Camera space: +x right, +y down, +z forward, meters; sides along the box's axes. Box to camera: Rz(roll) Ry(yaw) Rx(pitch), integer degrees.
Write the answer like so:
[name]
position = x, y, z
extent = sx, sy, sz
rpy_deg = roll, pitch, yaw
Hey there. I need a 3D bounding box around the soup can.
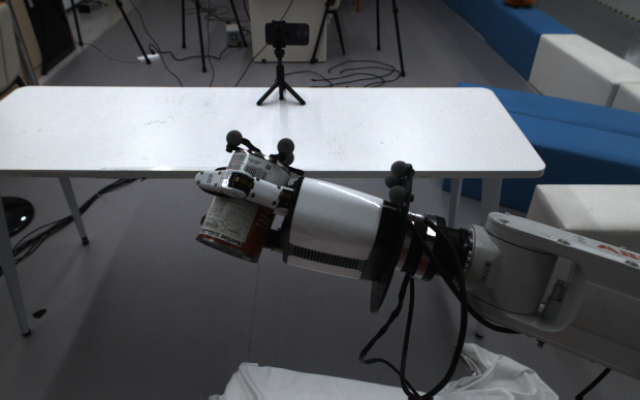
[soup can]
position = -0.077, 0.007, 0.507
extent = 0.067, 0.067, 0.101
rpy_deg = 15, 75, 18
